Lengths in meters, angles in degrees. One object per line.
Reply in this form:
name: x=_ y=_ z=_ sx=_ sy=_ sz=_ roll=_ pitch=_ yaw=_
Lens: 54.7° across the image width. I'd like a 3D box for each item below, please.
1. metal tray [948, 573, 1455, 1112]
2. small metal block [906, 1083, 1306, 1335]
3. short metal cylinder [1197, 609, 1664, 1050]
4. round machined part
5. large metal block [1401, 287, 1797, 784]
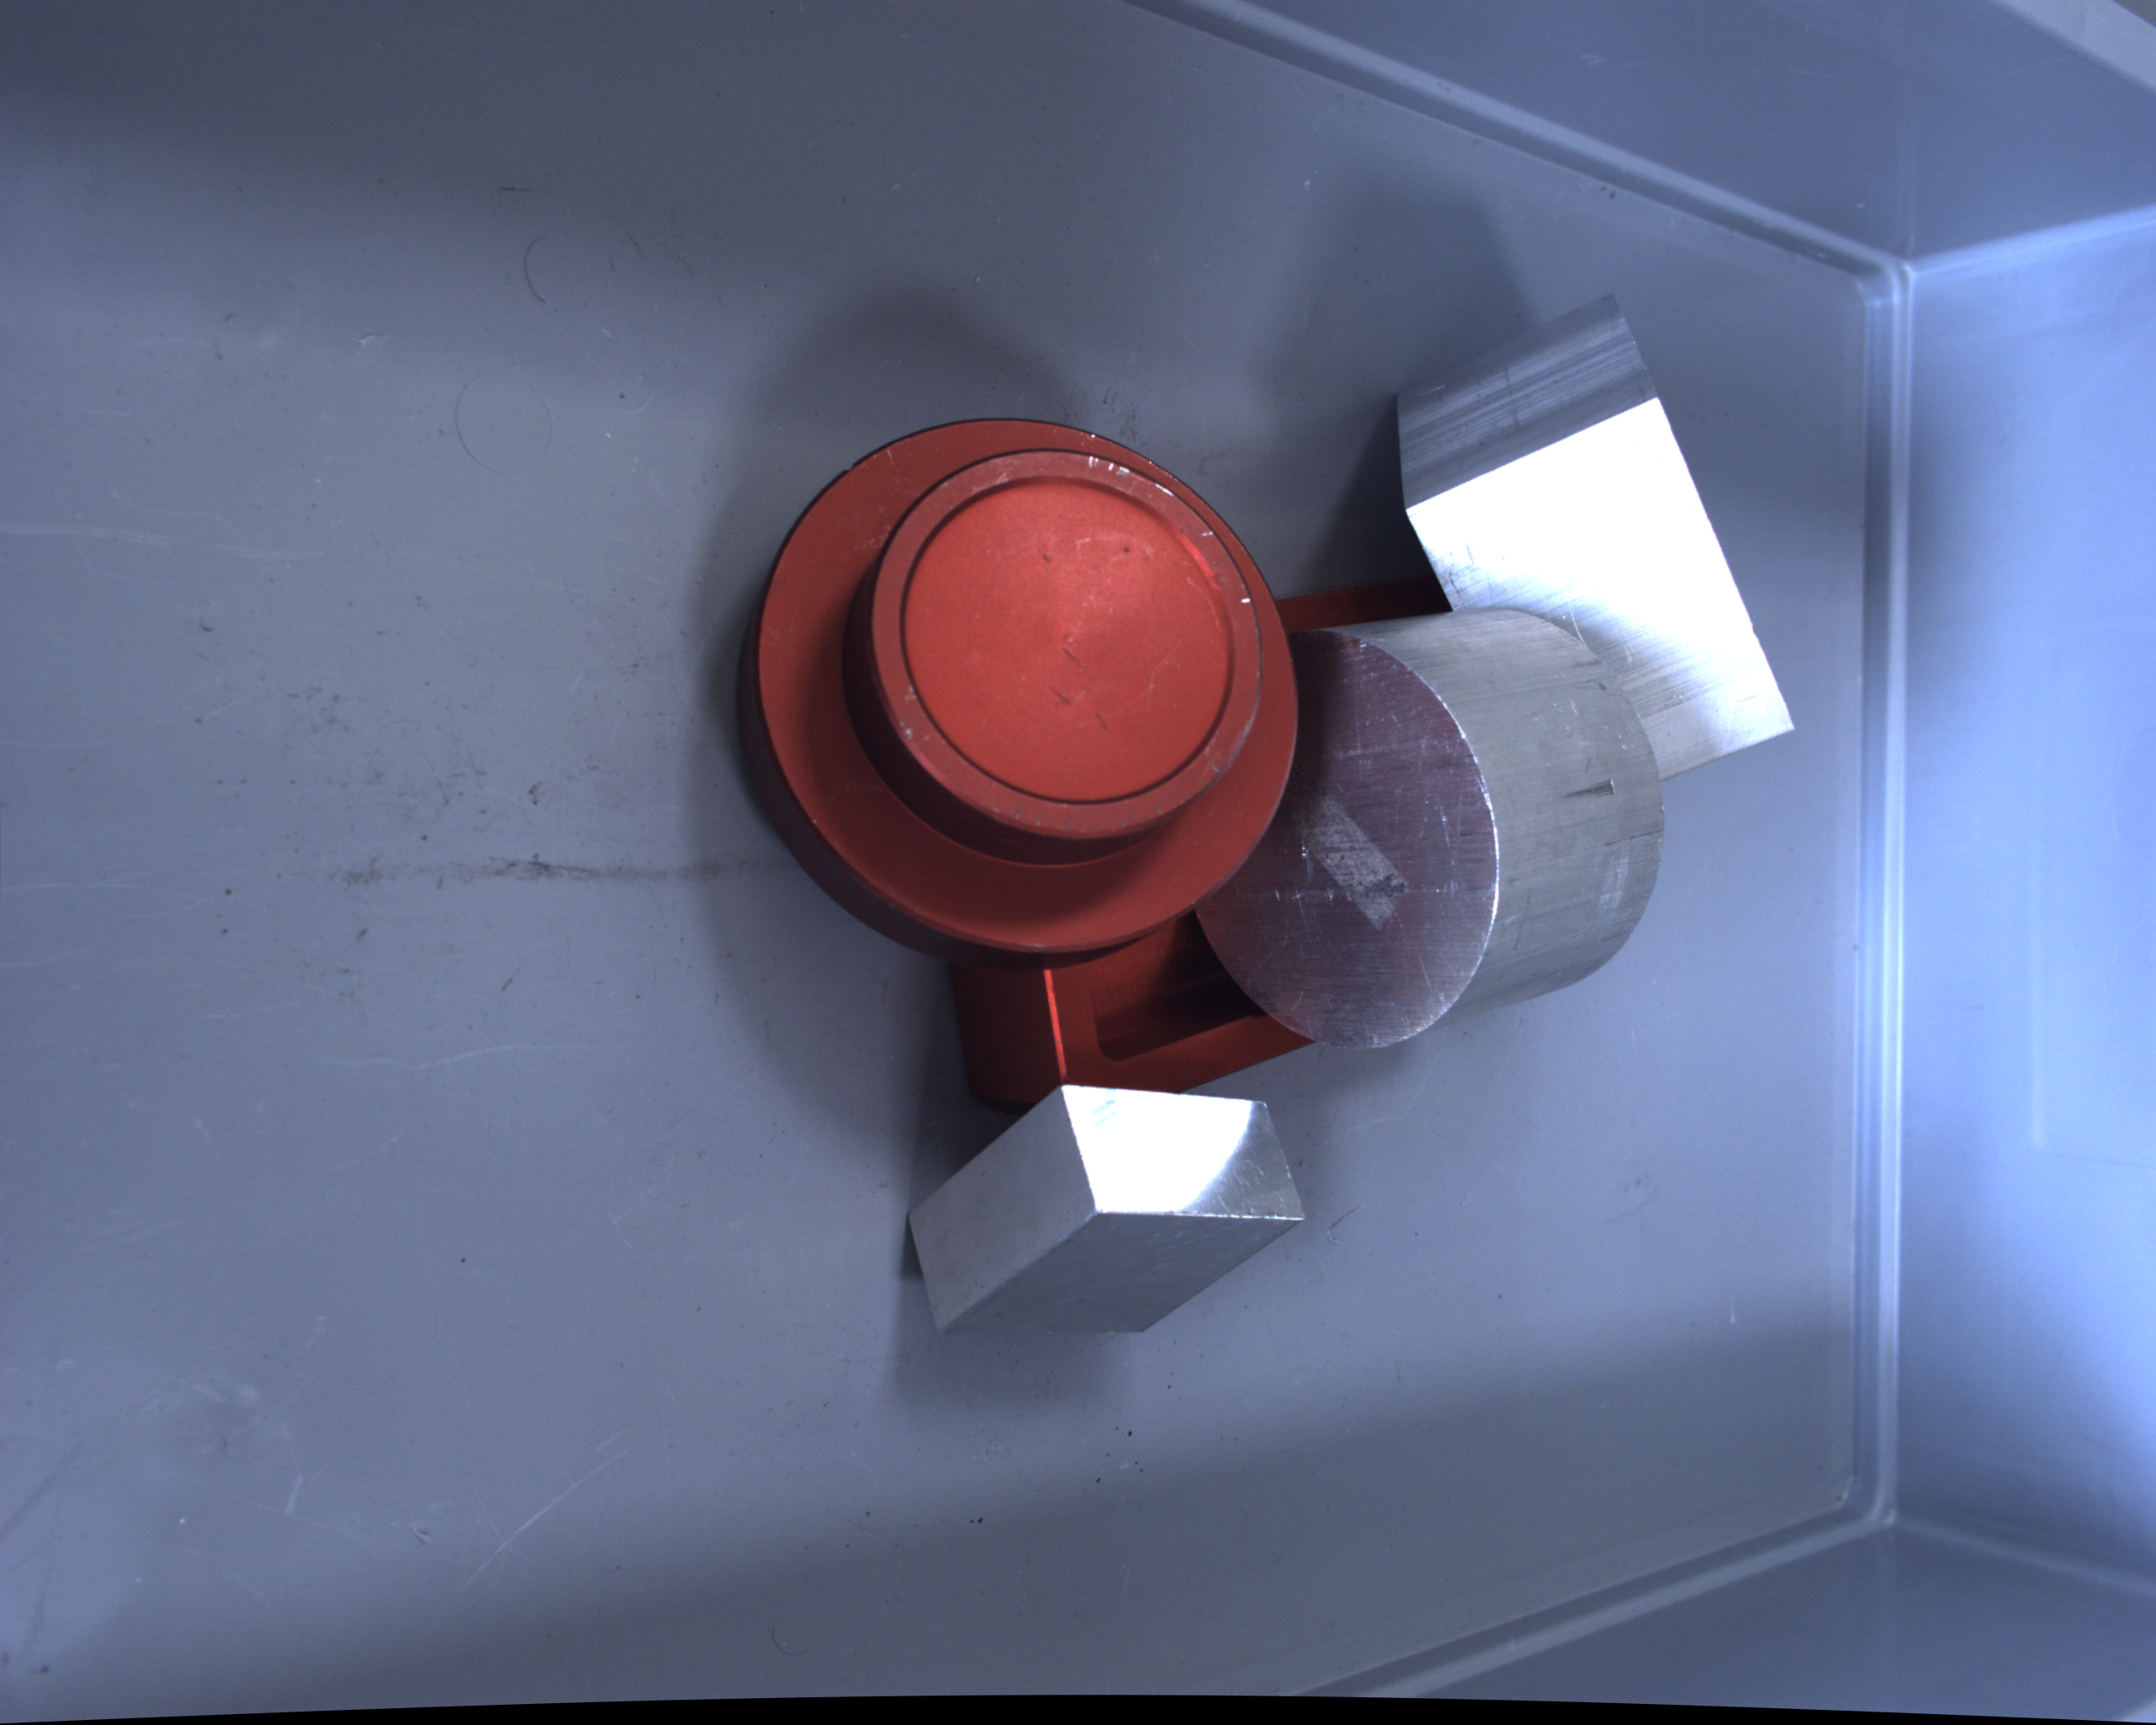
metal tray: x=0.031 y=-0.007 z=0.429 sx=0.131 sy=0.030 sz=0.089 roll=-15 pitch=100 yaw=-39
small metal block: x=0.005 y=0.066 z=0.390 sx=0.050 sy=0.050 sz=0.025 roll=10 pitch=50 yaw=-39
short metal cylinder: x=0.065 y=-0.008 z=0.407 sx=0.050 sy=0.080 sz=0.079 roll=-12 pitch=98 yaw=-40
round machined part: x=-0.007 y=-0.032 z=0.363 sx=0.099 sy=0.042 sz=0.098 roll=4 pitch=75 yaw=-15
large metal block: x=0.111 y=-0.068 z=0.456 sx=0.080 sy=0.050 sz=0.080 roll=59 pitch=20 yaw=-24
